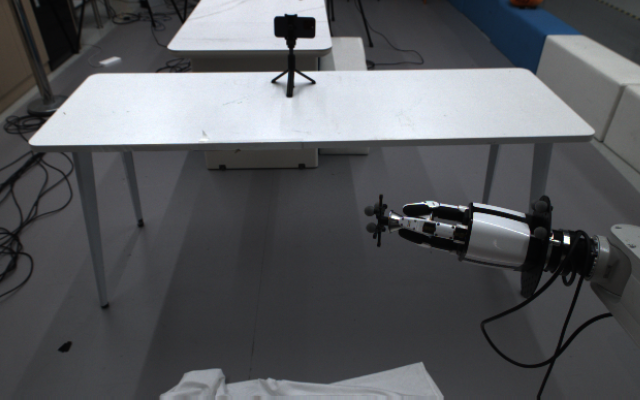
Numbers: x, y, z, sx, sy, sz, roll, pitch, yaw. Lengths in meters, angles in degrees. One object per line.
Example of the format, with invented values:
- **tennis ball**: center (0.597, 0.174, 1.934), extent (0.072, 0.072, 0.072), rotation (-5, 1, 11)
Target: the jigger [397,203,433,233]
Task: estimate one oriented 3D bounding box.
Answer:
- **jigger**: center (0.156, 0.032, 0.792), extent (0.071, 0.043, 0.043), rotation (3, 34, 18)
